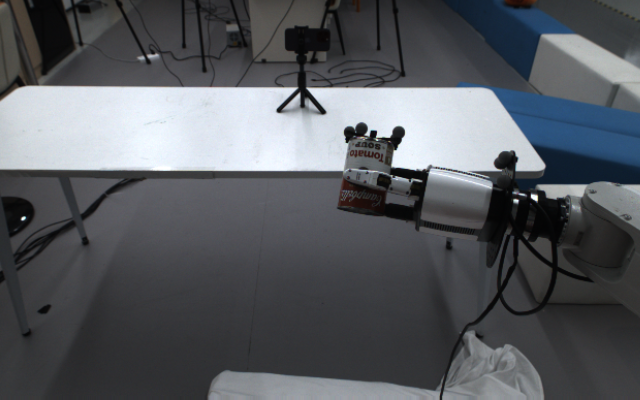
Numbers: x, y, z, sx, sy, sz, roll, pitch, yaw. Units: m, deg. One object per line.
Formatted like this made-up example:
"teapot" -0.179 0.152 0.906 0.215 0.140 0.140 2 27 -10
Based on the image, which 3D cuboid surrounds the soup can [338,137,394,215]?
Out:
"soup can" 0.066 -0.034 0.688 0.067 0.101 0.067 9 -5 1
